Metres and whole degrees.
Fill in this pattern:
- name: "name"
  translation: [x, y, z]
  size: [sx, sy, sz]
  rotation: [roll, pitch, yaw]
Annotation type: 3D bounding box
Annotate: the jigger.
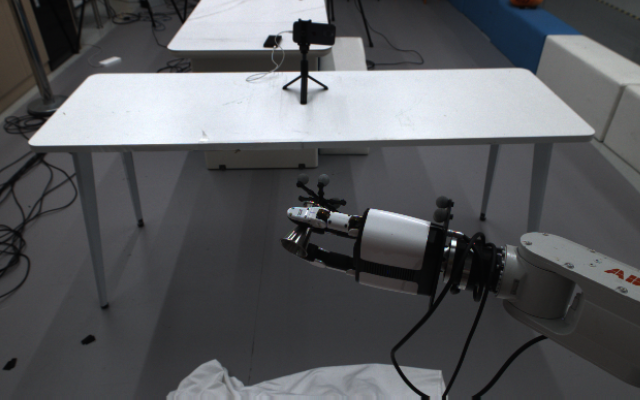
- name: "jigger"
  translation: [-0.023, 0.036, 0.677]
  size: [0.043, 0.043, 0.071]
  rotation: [19, 61, 23]
